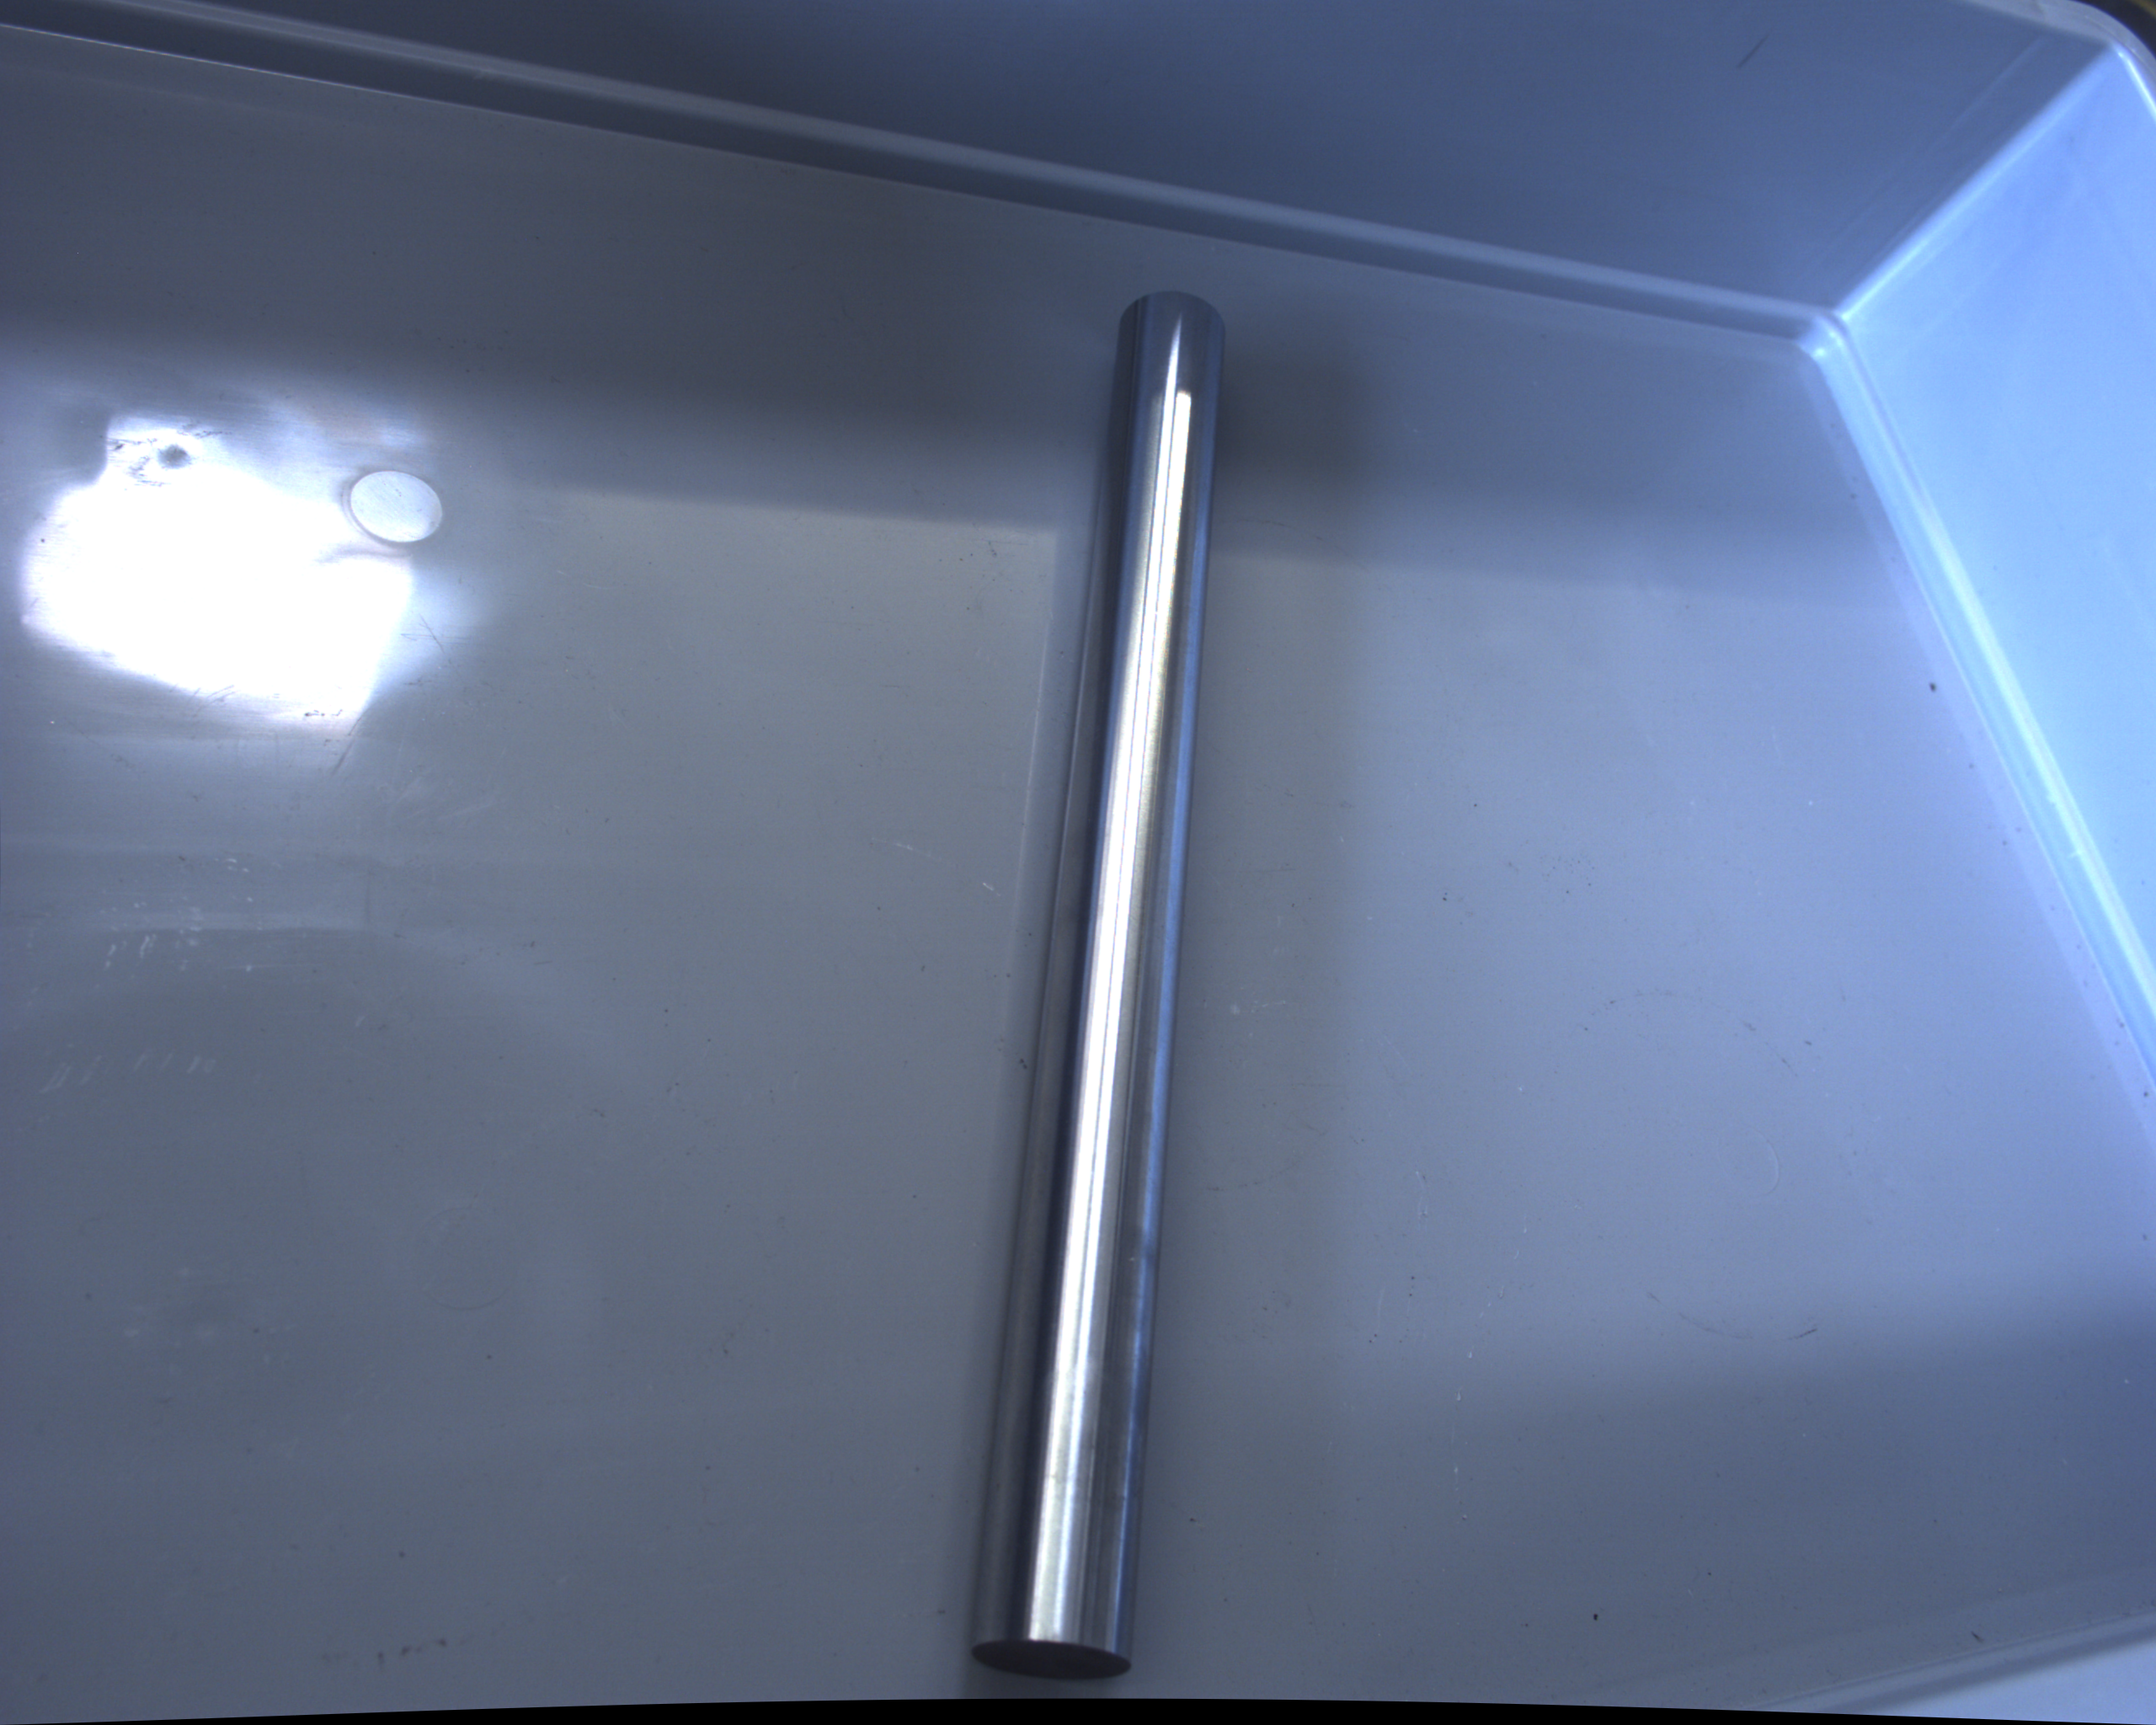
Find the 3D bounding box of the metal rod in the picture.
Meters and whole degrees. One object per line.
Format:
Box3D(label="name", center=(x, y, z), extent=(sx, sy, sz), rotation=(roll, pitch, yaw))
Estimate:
Box3D(label="metal rod", center=(0.009, 0.000, 0.407), extent=(0.025, 0.025, 0.300), rotation=(18, 55, -18))
